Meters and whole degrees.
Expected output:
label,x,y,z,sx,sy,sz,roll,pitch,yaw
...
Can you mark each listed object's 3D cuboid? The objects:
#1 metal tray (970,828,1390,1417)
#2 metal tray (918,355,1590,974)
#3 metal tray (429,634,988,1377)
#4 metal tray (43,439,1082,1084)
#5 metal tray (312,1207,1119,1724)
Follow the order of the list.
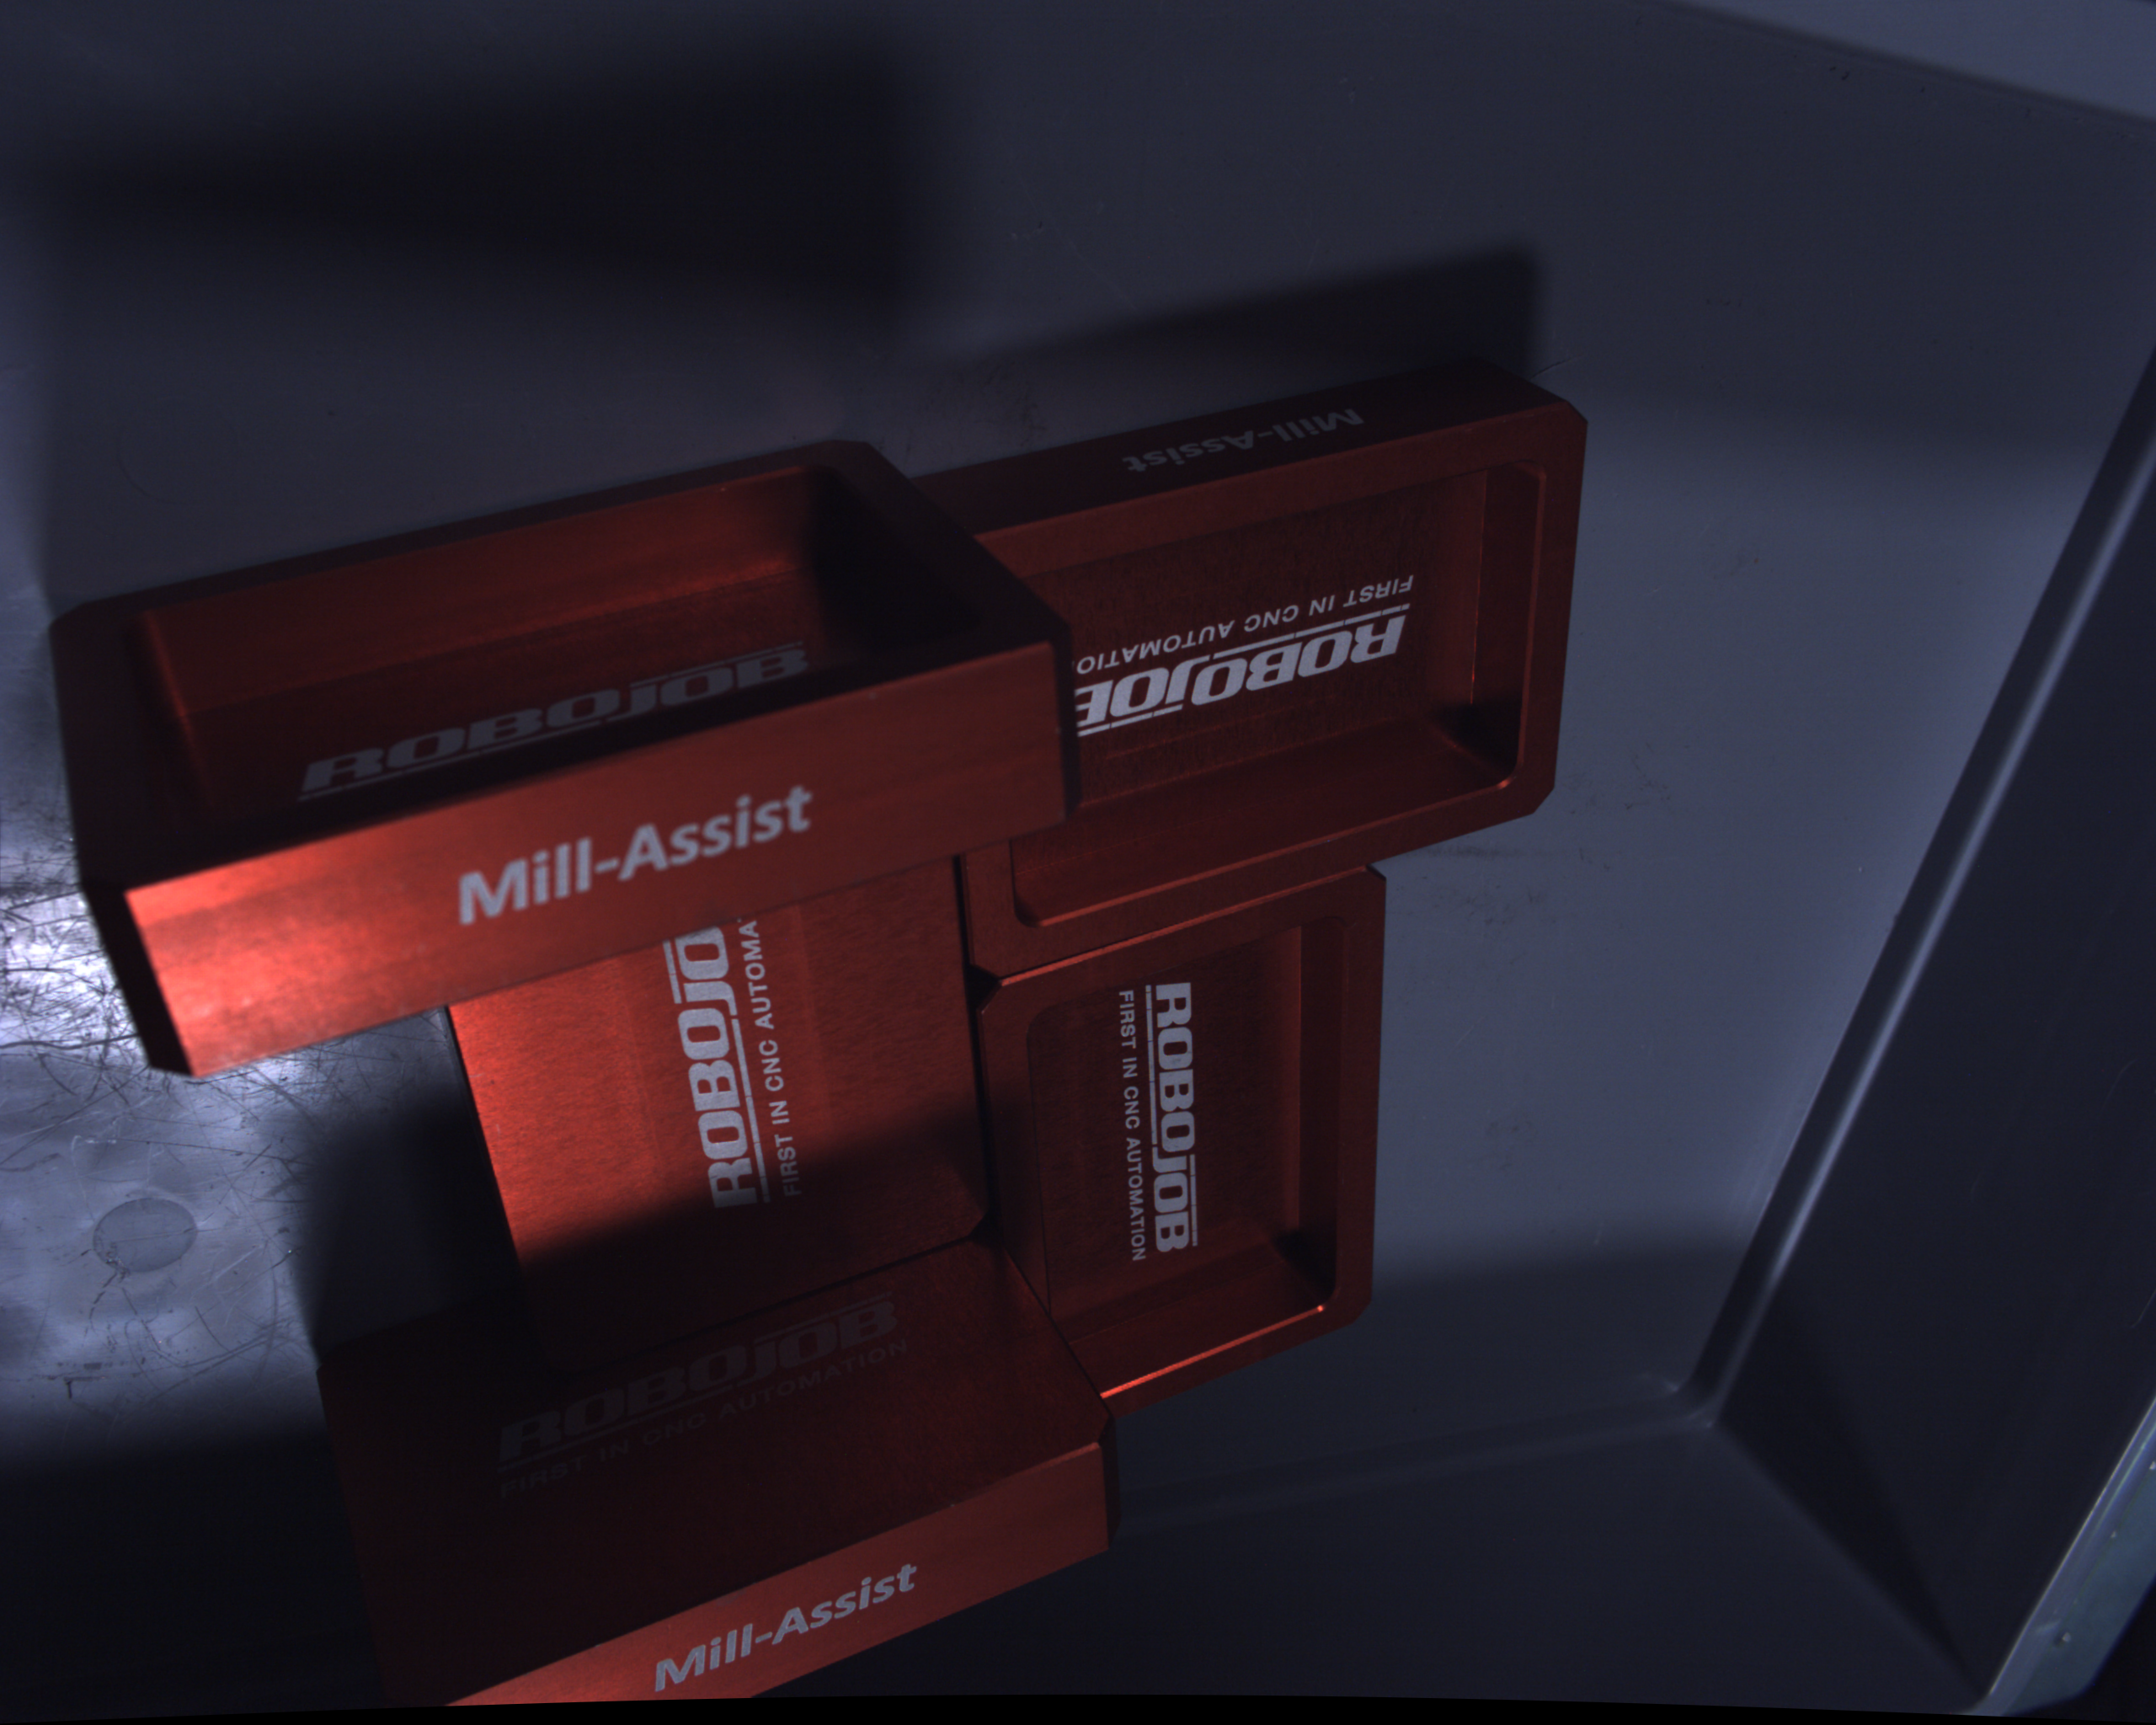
label,x,y,z,sx,sy,sz,roll,pitch,yaw
metal tray,0.019,0.058,0.451,0.091,0.030,0.129,-16,125,-20
metal tray,0.032,-0.039,0.398,0.131,0.030,0.089,-16,125,-20
metal tray,-0.068,0.026,0.382,0.091,0.030,0.129,-16,125,-20
metal tray,-0.076,-0.022,0.307,0.131,0.090,0.030,-17,125,-19
metal tray,-0.069,0.112,0.396,0.131,0.090,0.030,-16,125,-20
